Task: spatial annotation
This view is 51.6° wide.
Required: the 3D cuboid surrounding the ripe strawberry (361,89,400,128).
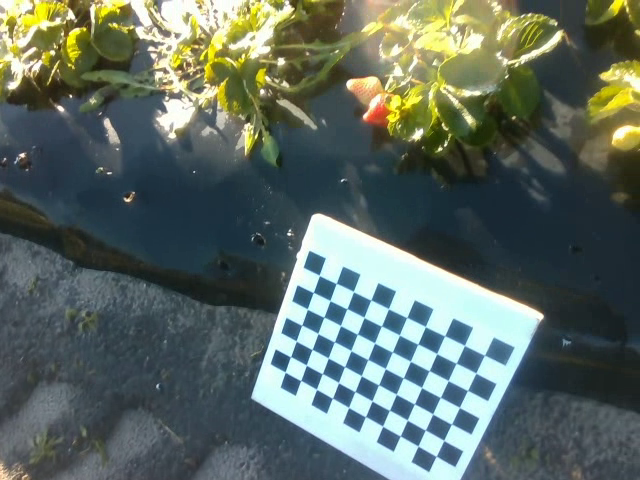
[{"bbox_3d":[0.063,-0.138,0.706,0.055,0.038,0.040,-11,16,-37],"label":"ripe strawberry"}]
